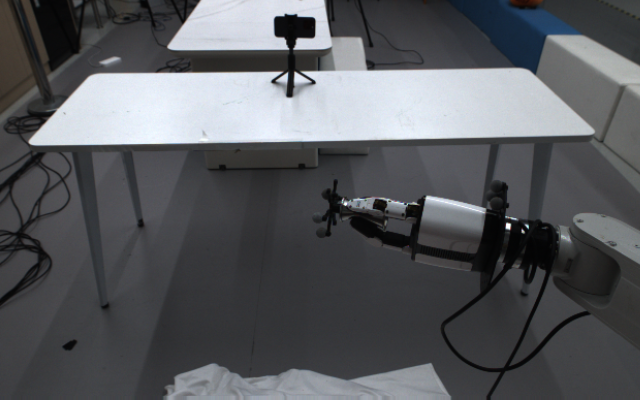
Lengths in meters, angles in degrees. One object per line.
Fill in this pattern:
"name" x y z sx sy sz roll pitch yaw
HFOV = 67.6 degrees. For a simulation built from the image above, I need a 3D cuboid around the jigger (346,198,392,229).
"jigger" 0.073 0.013 0.721 0.071 0.043 0.043 7 35 16
